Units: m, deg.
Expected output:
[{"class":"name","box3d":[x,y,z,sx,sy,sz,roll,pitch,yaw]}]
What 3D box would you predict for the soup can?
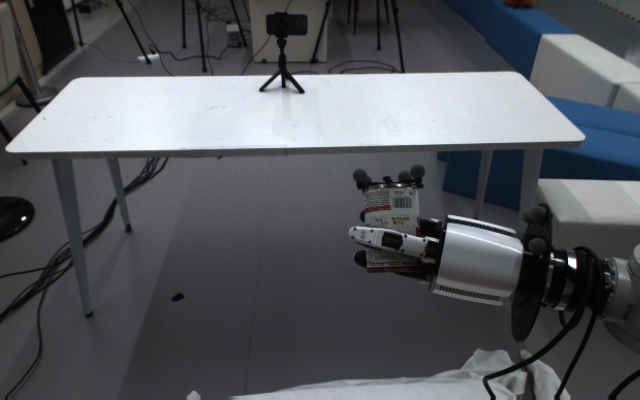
[{"class":"soup can","box3d":[0.089,0.037,0.583,0.067,0.101,0.067,-1,-9,0]}]
